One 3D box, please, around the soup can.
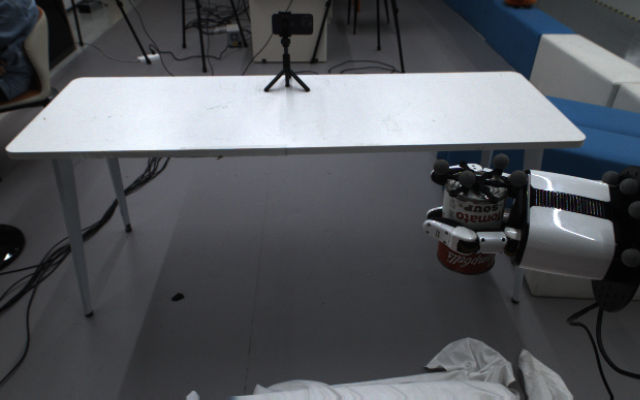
[{"bbox_3d":[0.176,0.025,0.559,0.067,0.101,0.067,-2,32,1],"label":"soup can"}]
